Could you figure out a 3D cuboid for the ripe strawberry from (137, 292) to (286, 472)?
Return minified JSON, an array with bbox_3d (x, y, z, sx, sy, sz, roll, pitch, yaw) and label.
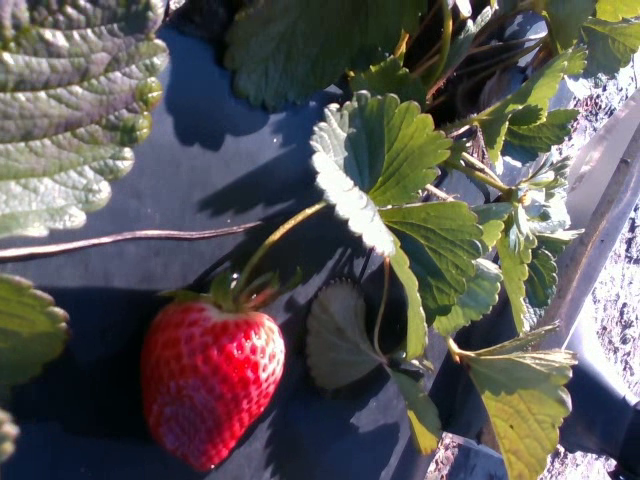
[{"bbox_3d":[-0.030,0.036,0.176,0.044,0.056,0.042,10,-8,2],"label":"ripe strawberry"}]
